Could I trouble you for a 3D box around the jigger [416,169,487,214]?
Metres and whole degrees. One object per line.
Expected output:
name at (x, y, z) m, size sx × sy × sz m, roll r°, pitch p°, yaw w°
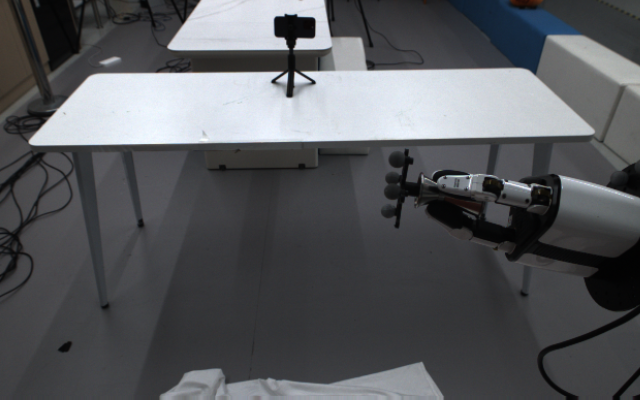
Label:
jigger at (0.147, -0.011, 0.527) m, size 0.071 × 0.043 × 0.043 m, roll 7°, pitch 35°, yaw 5°
